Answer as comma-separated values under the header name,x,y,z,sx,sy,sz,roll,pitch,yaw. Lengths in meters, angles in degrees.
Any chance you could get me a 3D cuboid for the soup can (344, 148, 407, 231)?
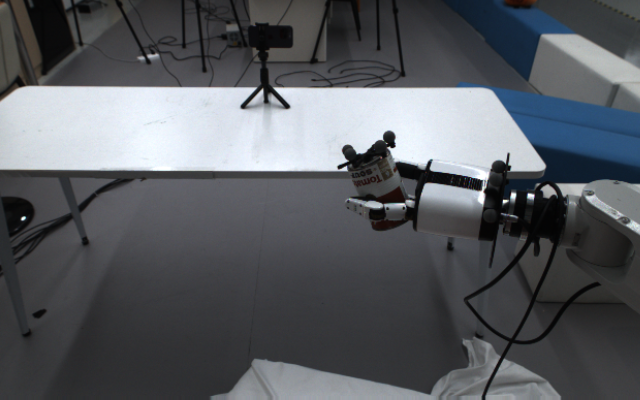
name,x,y,z,sx,sy,sz,roll,pitch,yaw
soup can,0.090,-0.016,0.703,0.067,0.101,0.067,-23,16,7
